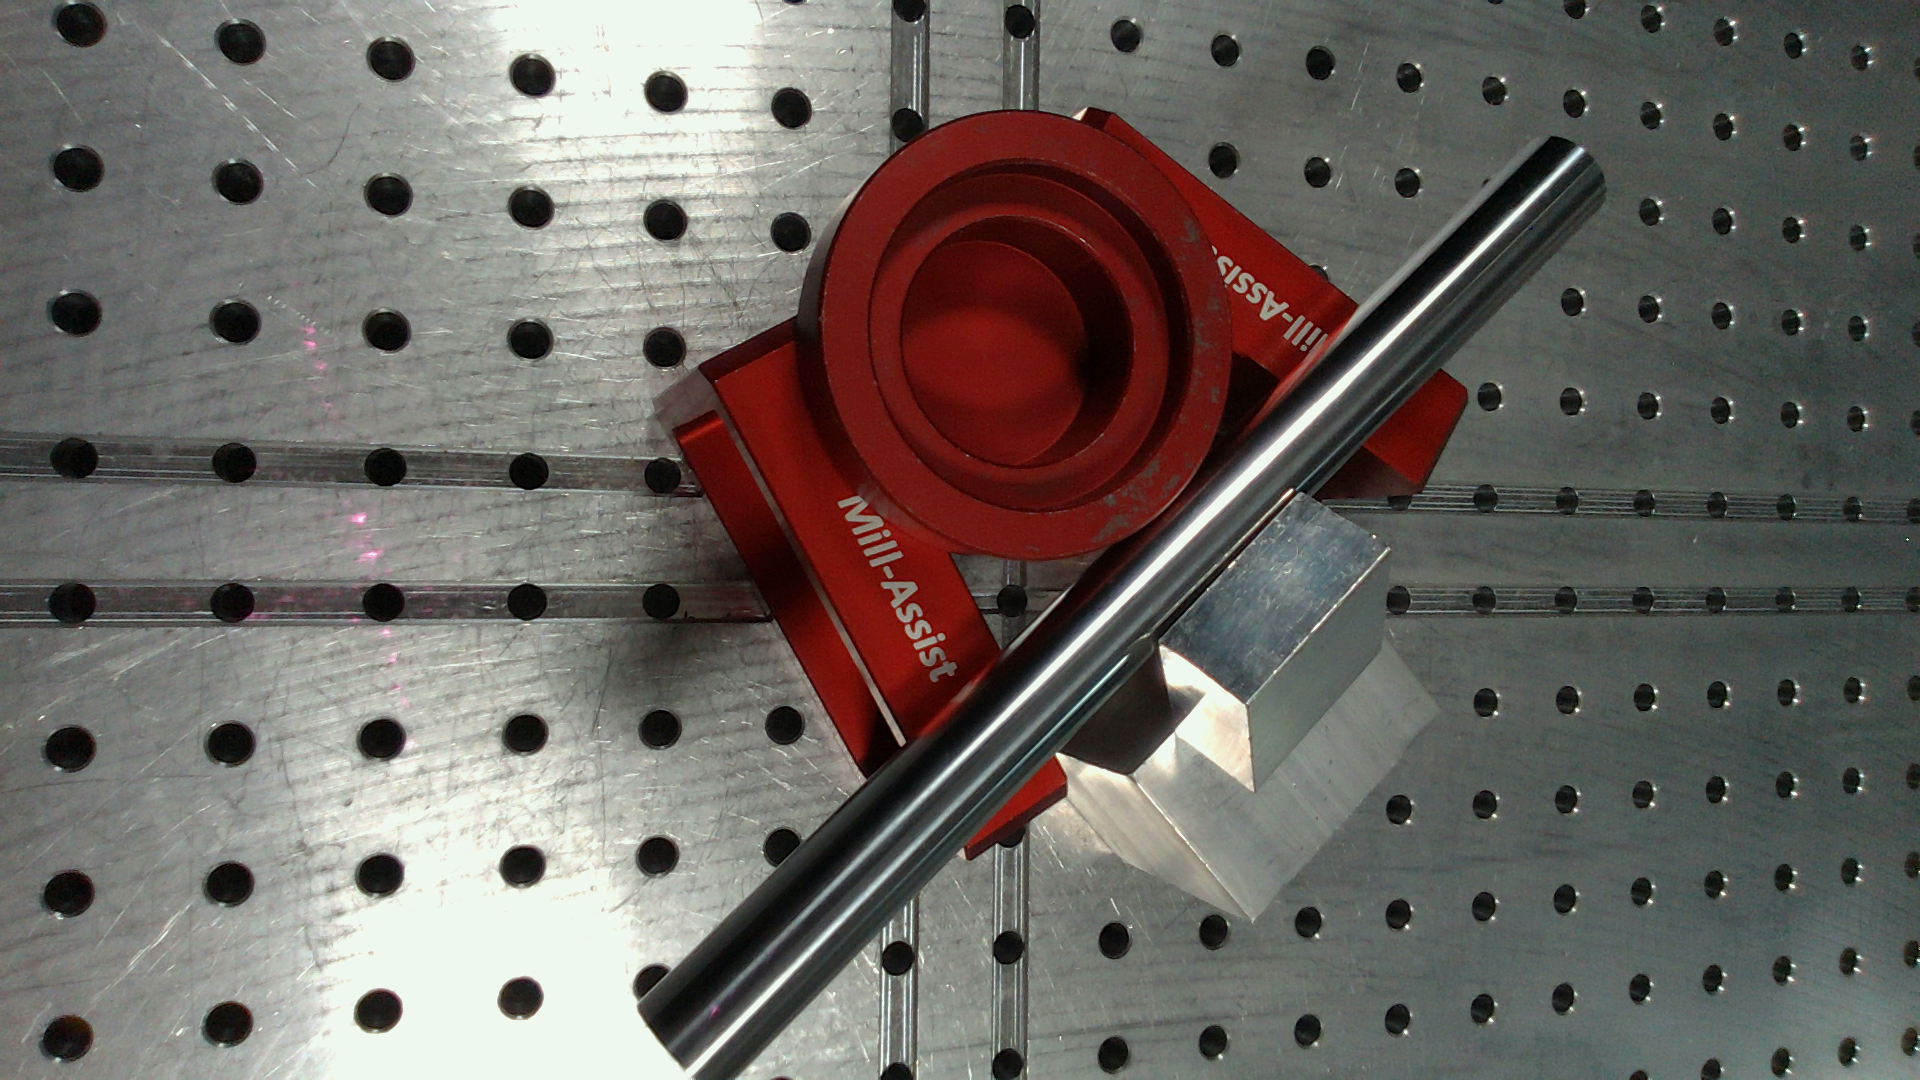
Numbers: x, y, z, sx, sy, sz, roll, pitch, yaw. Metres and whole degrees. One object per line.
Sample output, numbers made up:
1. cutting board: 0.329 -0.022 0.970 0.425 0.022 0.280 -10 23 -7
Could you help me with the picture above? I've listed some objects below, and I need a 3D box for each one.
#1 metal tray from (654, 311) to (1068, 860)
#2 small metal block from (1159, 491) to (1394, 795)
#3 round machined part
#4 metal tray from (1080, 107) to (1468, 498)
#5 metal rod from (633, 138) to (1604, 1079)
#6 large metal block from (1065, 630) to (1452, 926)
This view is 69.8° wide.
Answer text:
1. metal tray: -0.029 0.011 0.351 0.030 0.090 0.130 -31 100 -17
2. small metal block: 0.075 0.025 0.323 0.025 0.050 0.050 37 73 30
3. round machined part: 0.010 -0.045 0.317 0.098 0.042 0.098 0 90 -20
4. metal tray: 0.063 -0.058 0.383 0.130 0.090 0.030 33 80 -17
5. metal rod: 0.049 0.005 0.318 0.300 0.025 0.025 -43 103 -15
6. large metal block: 0.075 0.053 0.391 0.080 0.080 0.050 -43 103 -15
